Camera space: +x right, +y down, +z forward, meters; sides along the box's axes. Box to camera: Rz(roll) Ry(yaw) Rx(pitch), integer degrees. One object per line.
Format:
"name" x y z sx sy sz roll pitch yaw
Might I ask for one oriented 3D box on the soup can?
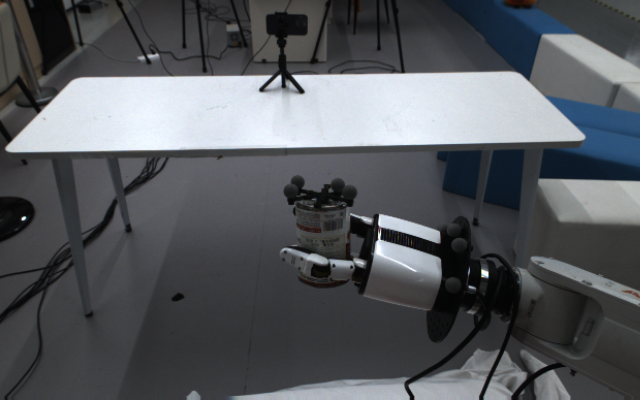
"soup can" 0.006 0.048 0.594 0.067 0.101 0.067 -1 17 0
